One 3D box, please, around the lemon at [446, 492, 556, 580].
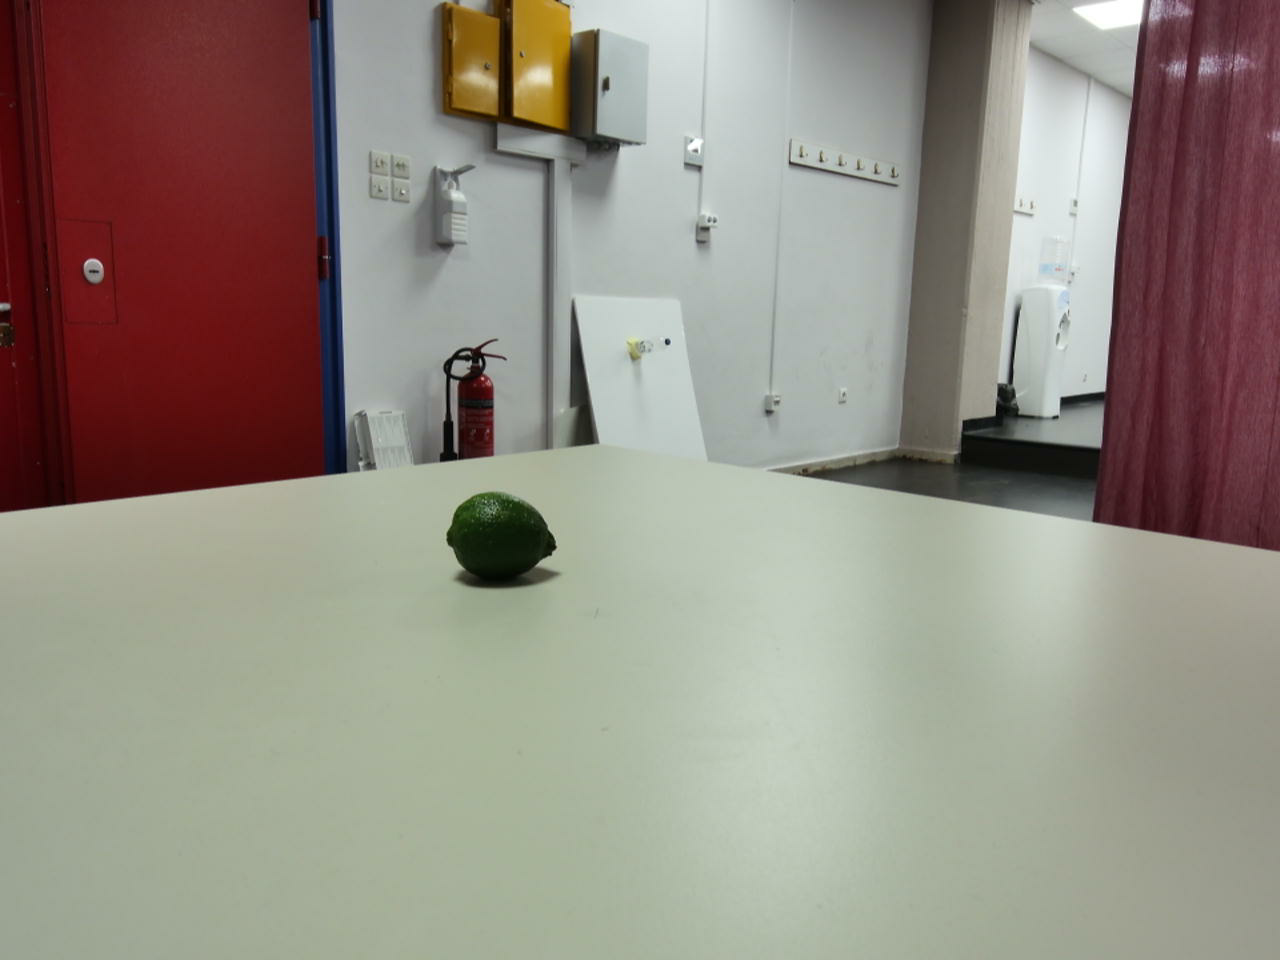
[{"bbox_3d":[-0.084,0.032,0.586,0.054,0.051,0.057,7,10,38],"label":"lemon"}]
